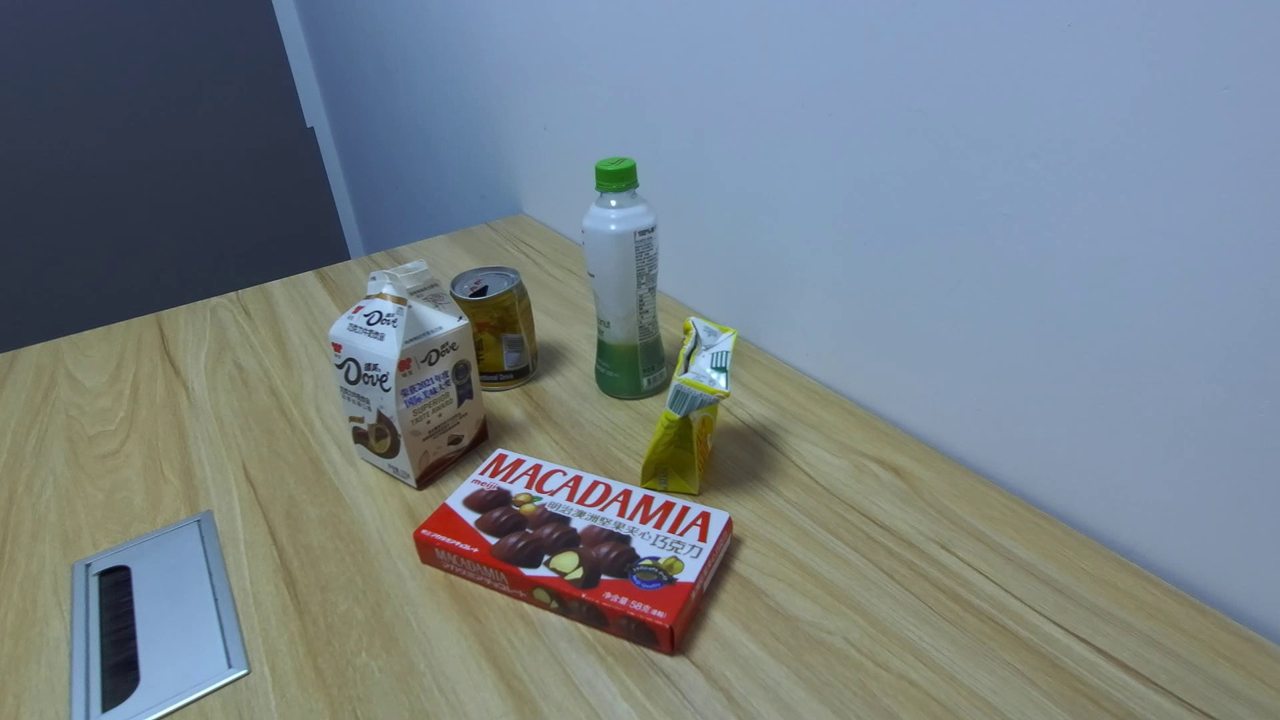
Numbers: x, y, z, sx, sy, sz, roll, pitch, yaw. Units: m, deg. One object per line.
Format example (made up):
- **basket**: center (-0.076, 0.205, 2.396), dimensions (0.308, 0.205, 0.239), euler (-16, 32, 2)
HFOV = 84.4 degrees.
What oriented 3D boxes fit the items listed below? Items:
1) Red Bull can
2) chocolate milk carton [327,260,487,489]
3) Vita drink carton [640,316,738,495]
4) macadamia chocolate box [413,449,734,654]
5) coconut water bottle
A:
- **Red Bull can**: center (-0.127, -0.029, 0.616), dimensions (0.072, 0.092, 0.072), euler (-2, 34, 2)
- **chocolate milk carton**: center (-0.170, 0.003, 0.512), dimensions (0.076, 0.156, 0.074), euler (18, 36, 33)
- **Vita drink carton**: center (0.036, 0.034, 0.482), dimensions (0.042, 0.108, 0.087), euler (17, 38, 7)
- **macadamia chocolate box**: center (-0.042, 0.112, 0.444), dimensions (0.177, 0.027, 0.096), euler (12, 35, 24)
- **coconut water bottle**: center (-0.012, -0.062, 0.562), dimensions (0.063, 0.189, 0.063), euler (-3, 29, 2)
